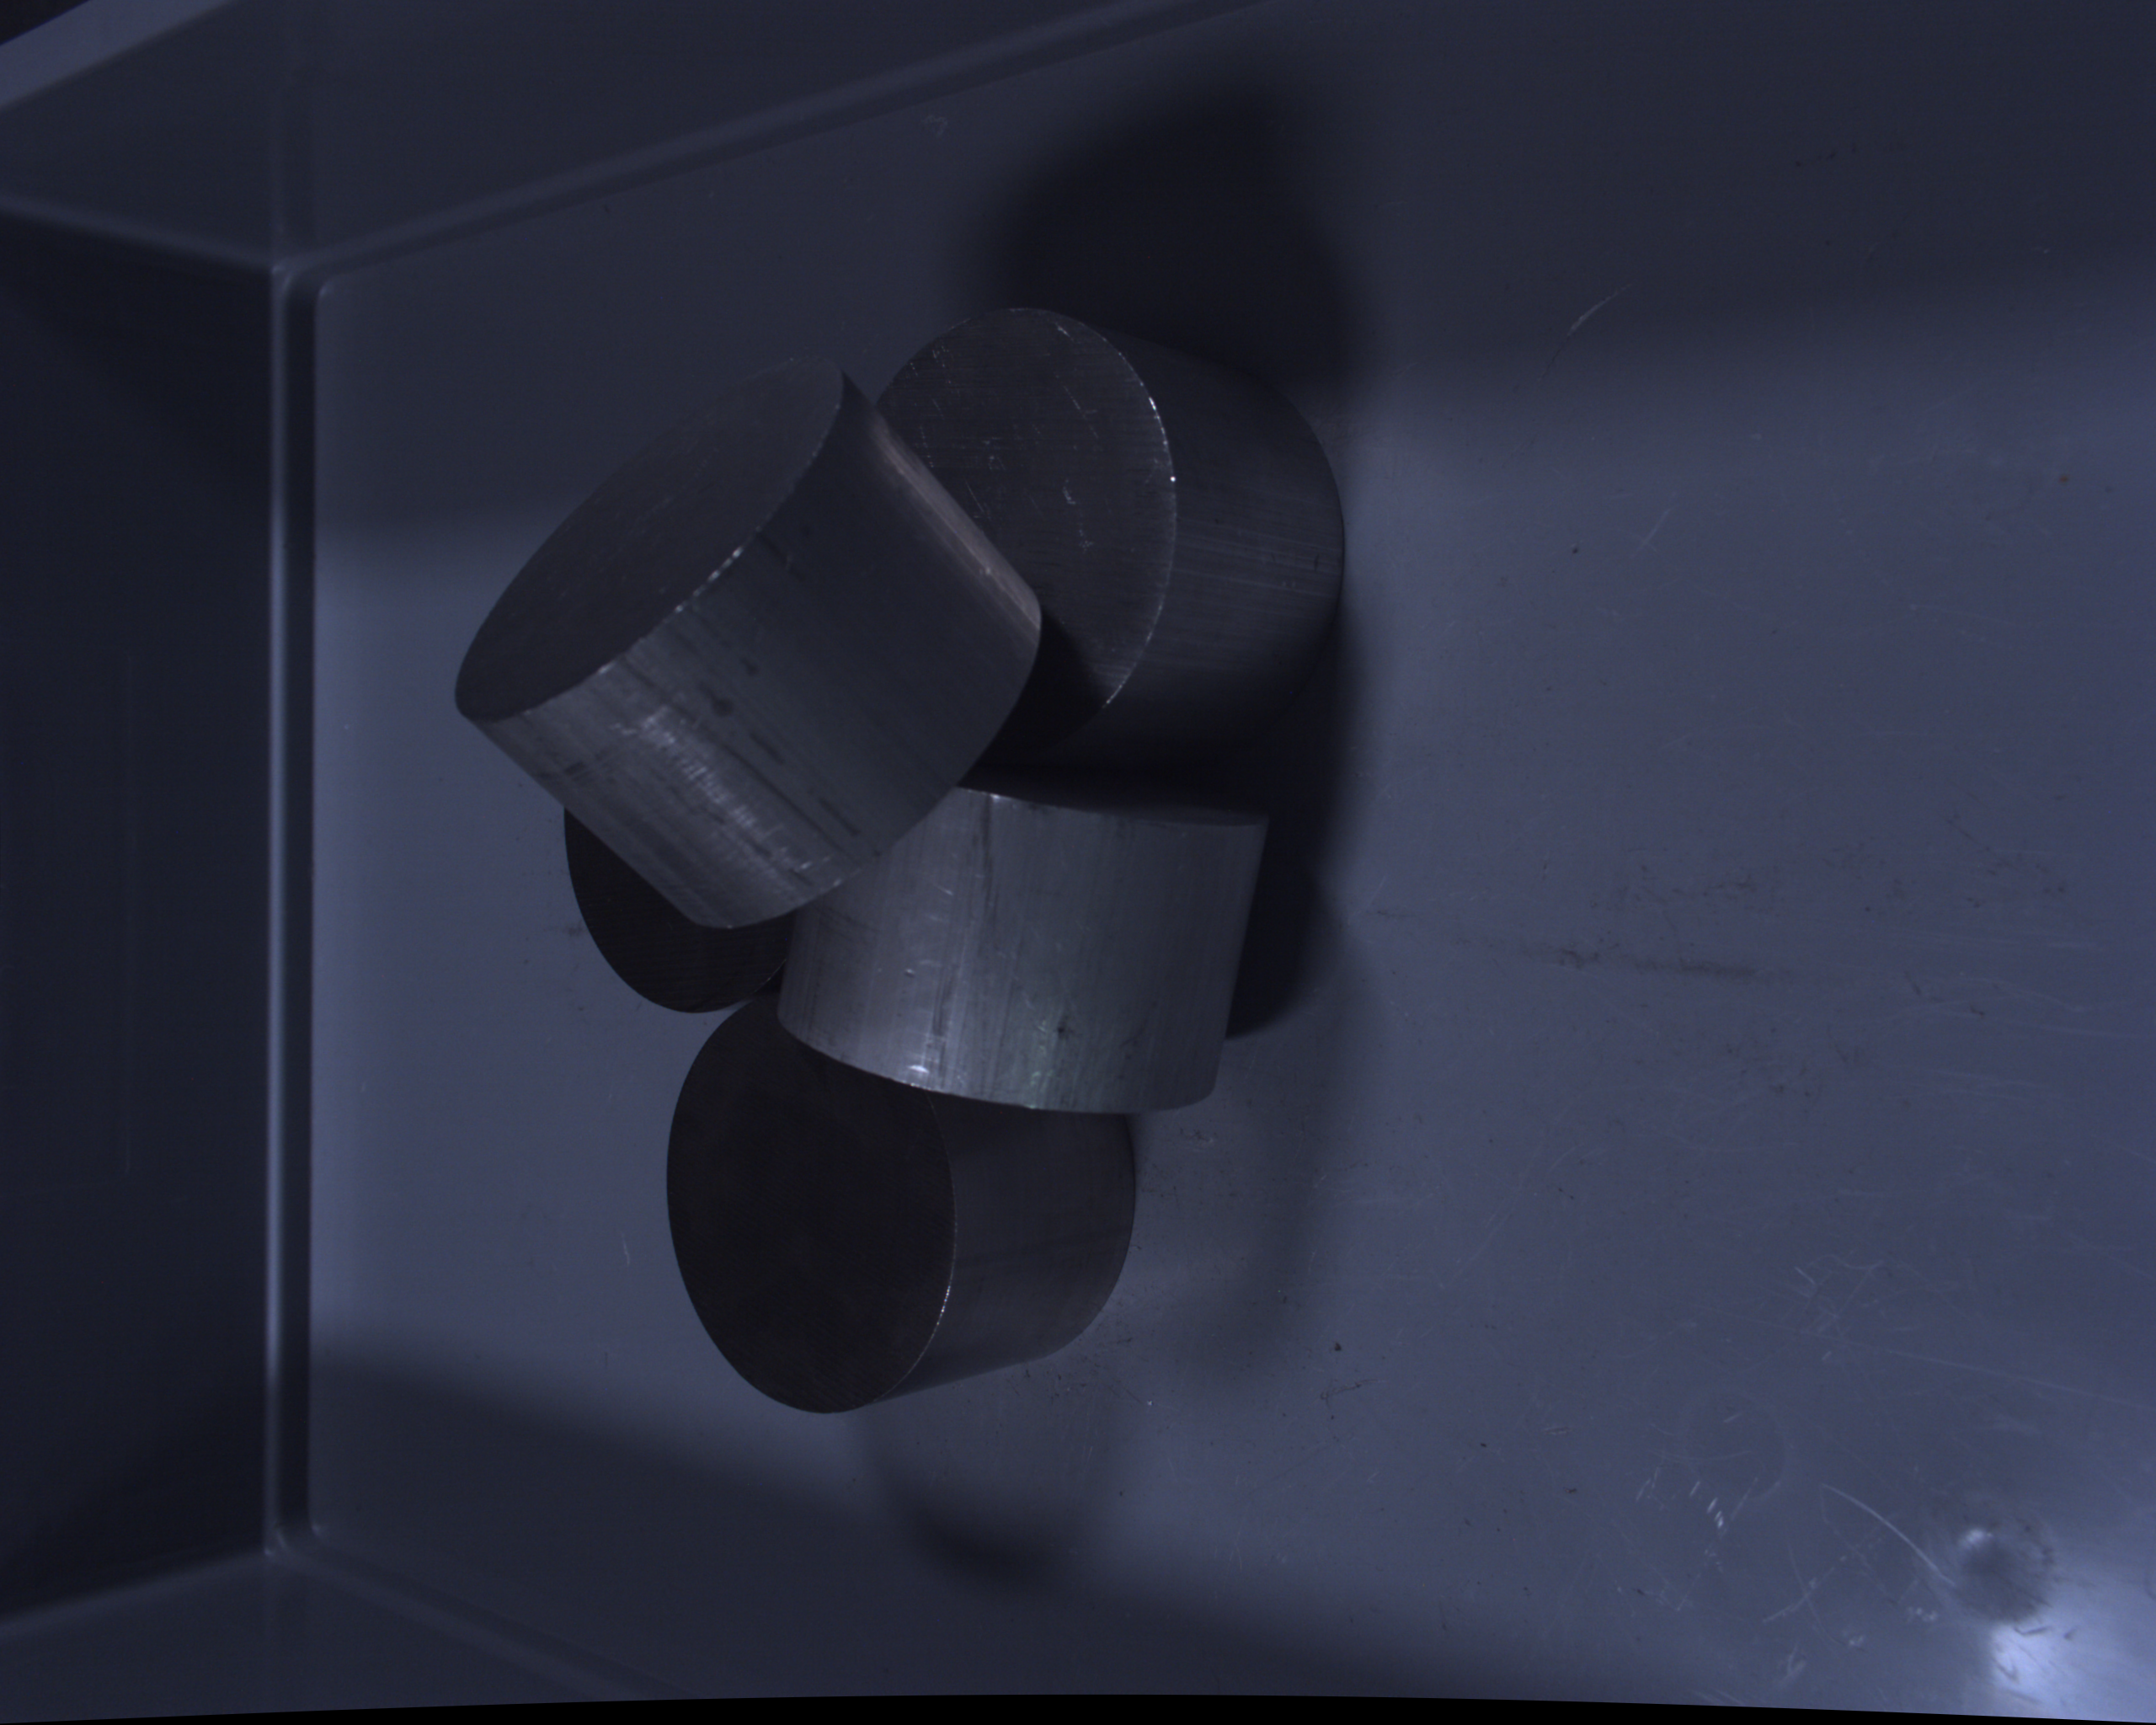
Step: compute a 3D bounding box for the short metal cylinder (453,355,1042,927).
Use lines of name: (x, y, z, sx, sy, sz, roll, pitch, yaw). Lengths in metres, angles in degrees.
short metal cylinder: (-0.053, -0.036, 0.339, 0.080, 0.050, 0.080, -29, 33, 21)

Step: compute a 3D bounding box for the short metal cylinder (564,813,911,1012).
short metal cylinder: (-0.062, -0.010, 0.437, 0.080, 0.050, 0.079, 0, 90, 39)

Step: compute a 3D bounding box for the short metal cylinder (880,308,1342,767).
short metal cylinder: (0.001, -0.057, 0.386, 0.080, 0.050, 0.079, 0, 90, 39)

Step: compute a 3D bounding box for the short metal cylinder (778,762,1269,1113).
short metal cylinder: (-0.010, 0.008, 0.376, 0.080, 0.081, 0.050, 17, 101, 38)

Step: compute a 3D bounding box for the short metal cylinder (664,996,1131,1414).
short metal cylinder: (-0.037, 0.064, 0.416, 0.080, 0.050, 0.079, 0, 90, 39)
